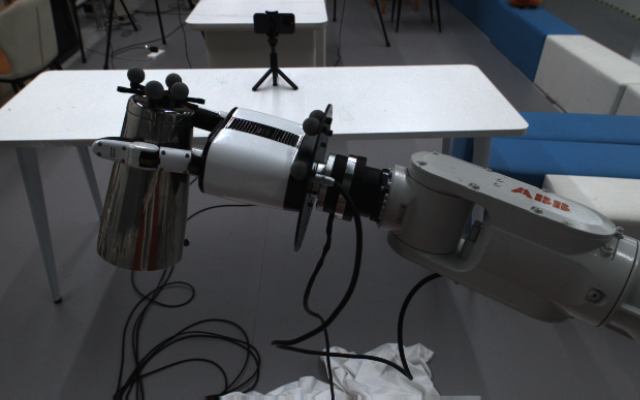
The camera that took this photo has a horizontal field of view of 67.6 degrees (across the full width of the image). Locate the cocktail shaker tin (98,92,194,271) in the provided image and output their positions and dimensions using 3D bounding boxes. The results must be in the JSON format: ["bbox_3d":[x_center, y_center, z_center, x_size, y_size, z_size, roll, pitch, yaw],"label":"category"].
[{"bbox_3d":[-0.180,-0.022,0.524,0.093,0.170,0.093,13,19,-5],"label":"cocktail shaker tin"}]
